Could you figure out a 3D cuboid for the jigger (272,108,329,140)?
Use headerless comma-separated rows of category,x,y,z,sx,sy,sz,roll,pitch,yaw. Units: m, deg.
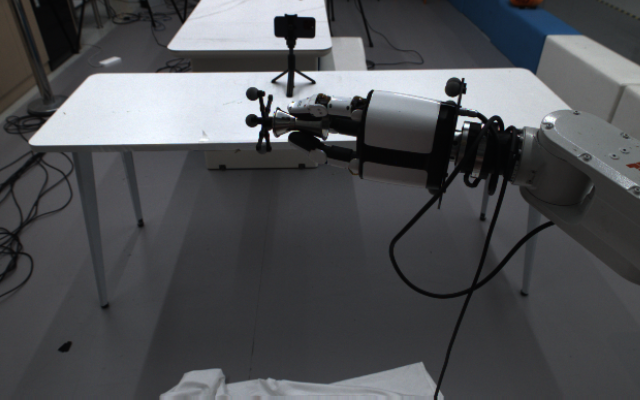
jigger,-0.018,-0.106,0.645,0.071,0.043,0.043,3,34,13
